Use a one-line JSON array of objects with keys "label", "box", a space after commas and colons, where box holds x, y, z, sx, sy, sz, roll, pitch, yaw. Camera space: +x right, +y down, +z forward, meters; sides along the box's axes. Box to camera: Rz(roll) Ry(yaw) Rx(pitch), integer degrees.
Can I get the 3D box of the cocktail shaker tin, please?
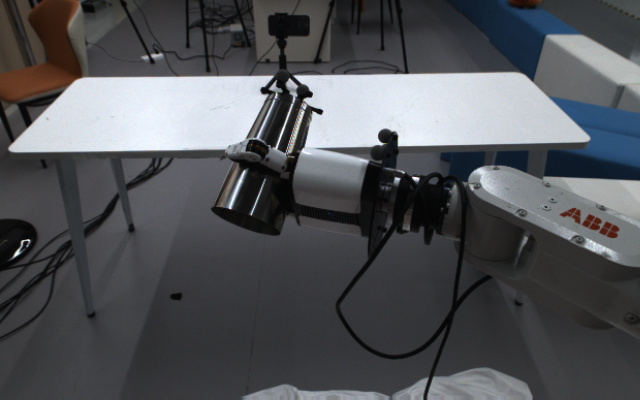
[{"label": "cocktail shaker tin", "box": [-0.067, -0.048, 0.626, 0.093, 0.093, 0.170, 14, 73, 17]}]
